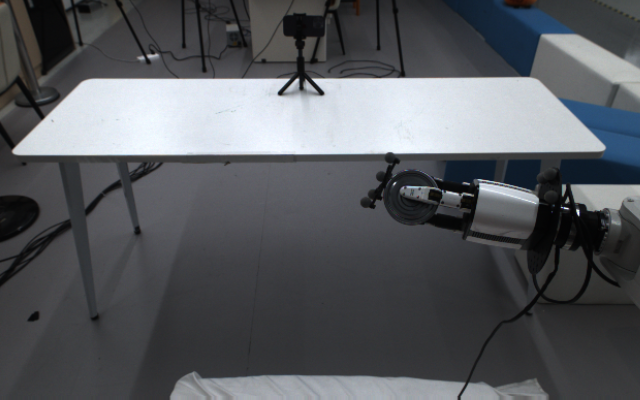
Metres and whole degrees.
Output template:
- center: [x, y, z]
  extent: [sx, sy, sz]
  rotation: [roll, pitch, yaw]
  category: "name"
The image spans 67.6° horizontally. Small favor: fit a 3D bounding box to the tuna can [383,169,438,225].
- center: [0.143, -0.006, 0.747]
  extent: [0.085, 0.085, 0.034]
  rotation: [9, -5, 10]
  category: "tuna can"
